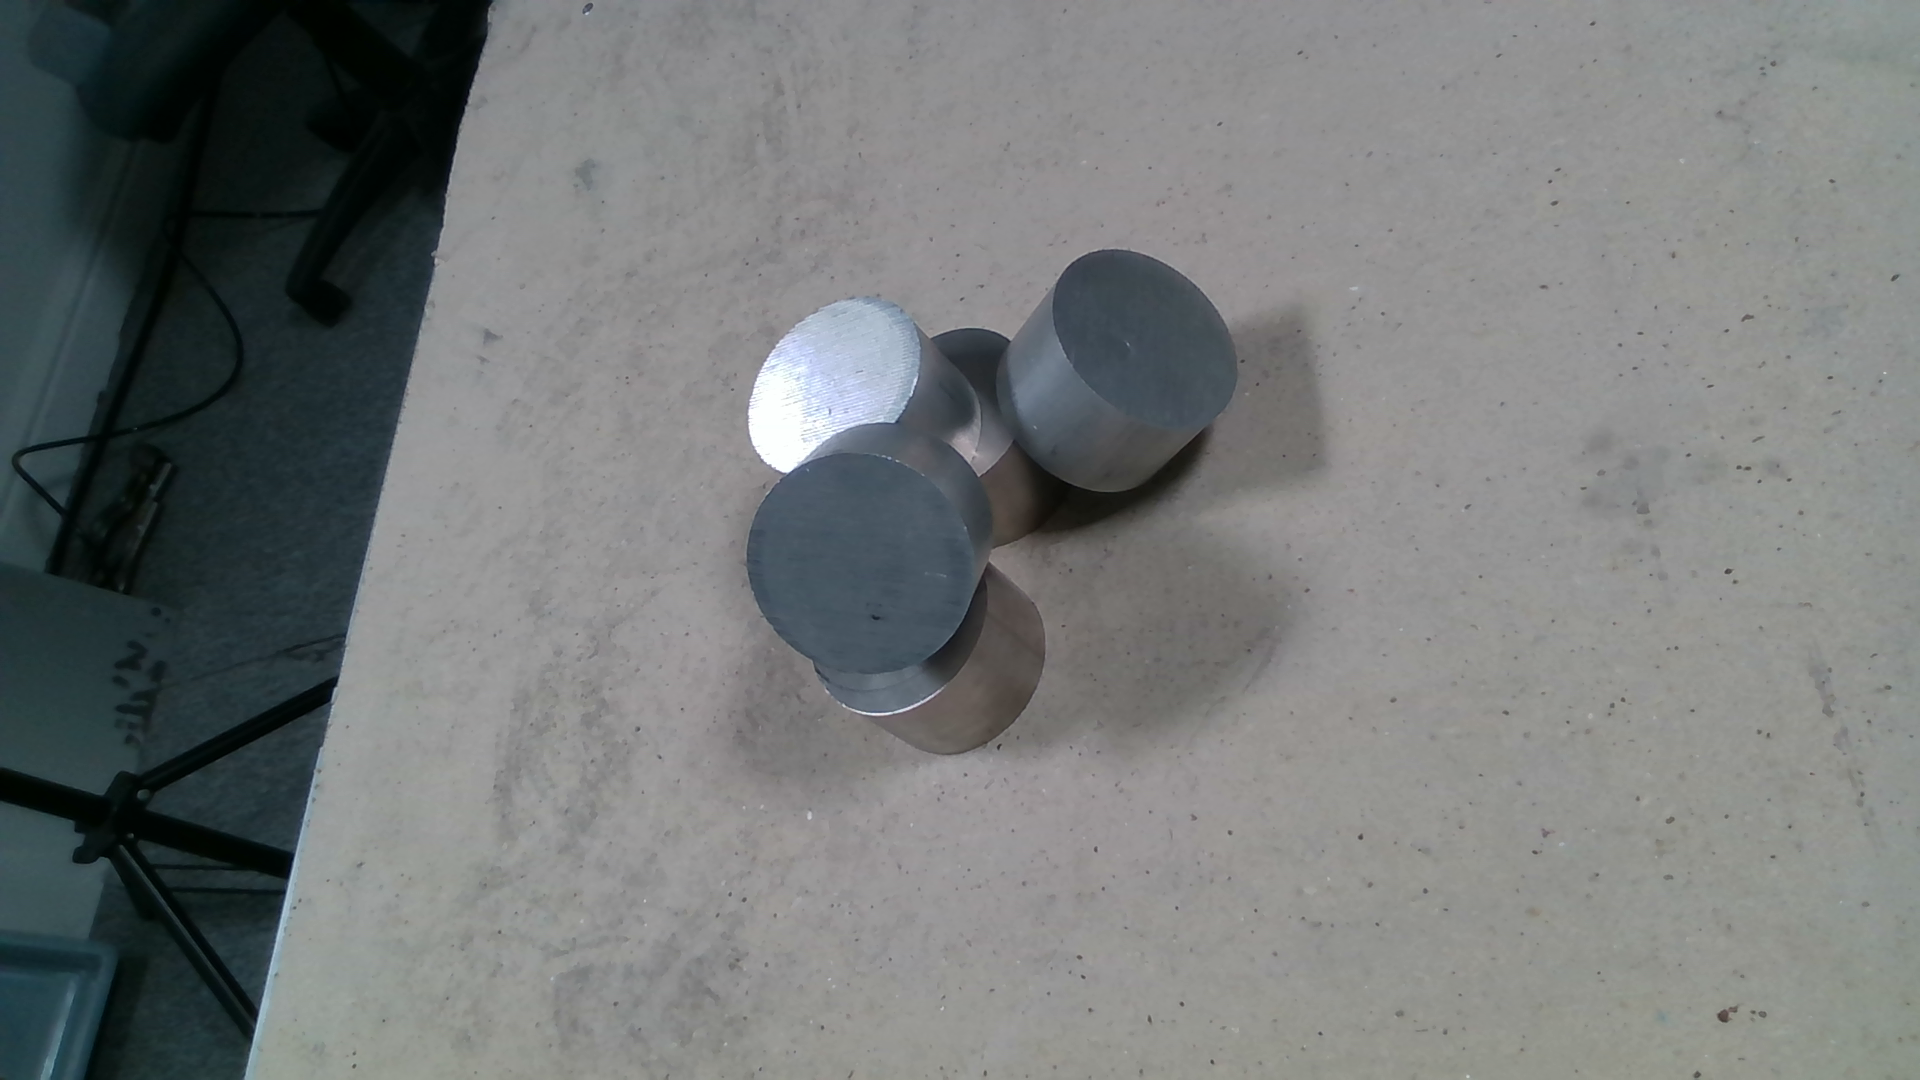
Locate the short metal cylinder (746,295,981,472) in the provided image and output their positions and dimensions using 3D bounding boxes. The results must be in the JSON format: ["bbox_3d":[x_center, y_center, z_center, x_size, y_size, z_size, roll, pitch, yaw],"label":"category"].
[{"bbox_3d":[-0.039,-0.051,0.555,0.080,0.050,0.080,-14,59,25],"label":"short metal cylinder"}]

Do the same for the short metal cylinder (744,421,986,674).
[{"bbox_3d":[-0.032,0.002,0.495,0.080,0.080,0.050,-29,11,15],"label":"short metal cylinder"}]

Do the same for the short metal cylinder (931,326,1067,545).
[{"bbox_3d":[0.005,-0.044,0.590,0.080,0.050,0.080,-14,59,25],"label":"short metal cylinder"}]

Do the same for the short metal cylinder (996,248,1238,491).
[{"bbox_3d":[0.061,-0.066,0.539,0.050,0.080,0.080,132,144,-54],"label":"short metal cylinder"}]

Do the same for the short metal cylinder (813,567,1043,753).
[{"bbox_3d":[-0.013,0.040,0.556,0.080,0.050,0.080,-14,59,25],"label":"short metal cylinder"}]
